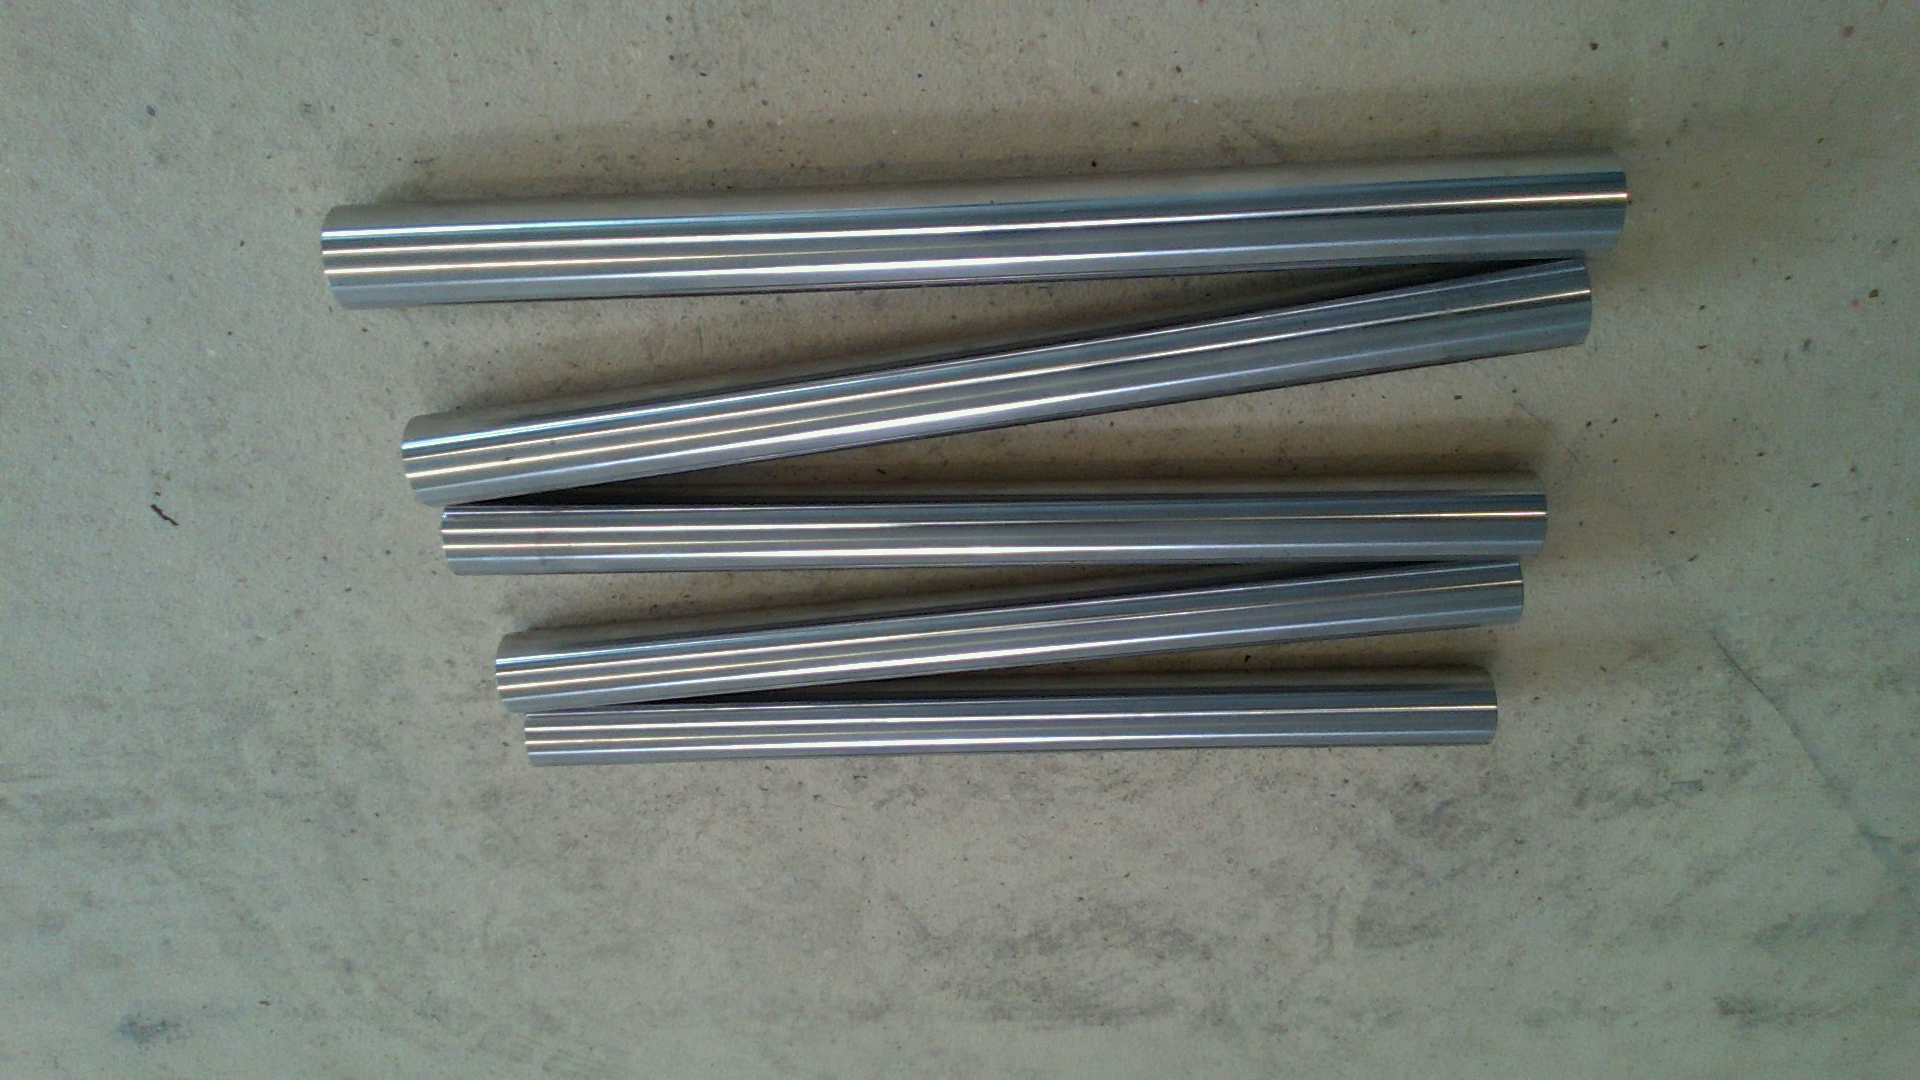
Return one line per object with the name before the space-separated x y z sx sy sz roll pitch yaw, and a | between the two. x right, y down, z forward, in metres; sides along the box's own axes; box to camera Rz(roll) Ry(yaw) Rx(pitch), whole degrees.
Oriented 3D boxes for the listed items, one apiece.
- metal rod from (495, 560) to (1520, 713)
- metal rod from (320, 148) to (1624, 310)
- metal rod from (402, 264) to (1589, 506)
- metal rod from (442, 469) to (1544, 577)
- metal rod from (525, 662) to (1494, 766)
metal rod | 0.011 0.026 0.413 0.300 0.025 0.025 -6 130 4
metal rod | 0.001 -0.074 0.329 0.300 0.025 0.025 -2 130 1
metal rod | 0.003 -0.041 0.356 0.300 0.025 0.025 -8 130 6
metal rod | 0.009 -0.005 0.387 0.300 0.025 0.025 -1 130 0
metal rod | 0.015 0.056 0.438 0.300 0.025 0.025 -2 130 1
